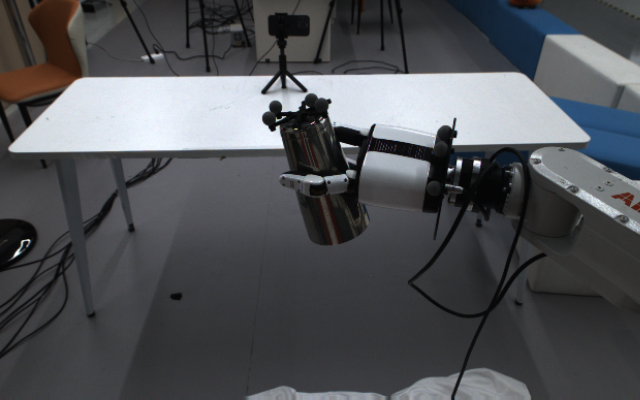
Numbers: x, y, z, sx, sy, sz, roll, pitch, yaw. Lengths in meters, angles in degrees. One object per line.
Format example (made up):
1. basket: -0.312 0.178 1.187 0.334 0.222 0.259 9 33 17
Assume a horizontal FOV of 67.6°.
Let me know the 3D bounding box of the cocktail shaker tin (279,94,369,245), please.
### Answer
1. cocktail shaker tin: 0.003 -0.033 0.661 0.093 0.170 0.093 -15 29 8
